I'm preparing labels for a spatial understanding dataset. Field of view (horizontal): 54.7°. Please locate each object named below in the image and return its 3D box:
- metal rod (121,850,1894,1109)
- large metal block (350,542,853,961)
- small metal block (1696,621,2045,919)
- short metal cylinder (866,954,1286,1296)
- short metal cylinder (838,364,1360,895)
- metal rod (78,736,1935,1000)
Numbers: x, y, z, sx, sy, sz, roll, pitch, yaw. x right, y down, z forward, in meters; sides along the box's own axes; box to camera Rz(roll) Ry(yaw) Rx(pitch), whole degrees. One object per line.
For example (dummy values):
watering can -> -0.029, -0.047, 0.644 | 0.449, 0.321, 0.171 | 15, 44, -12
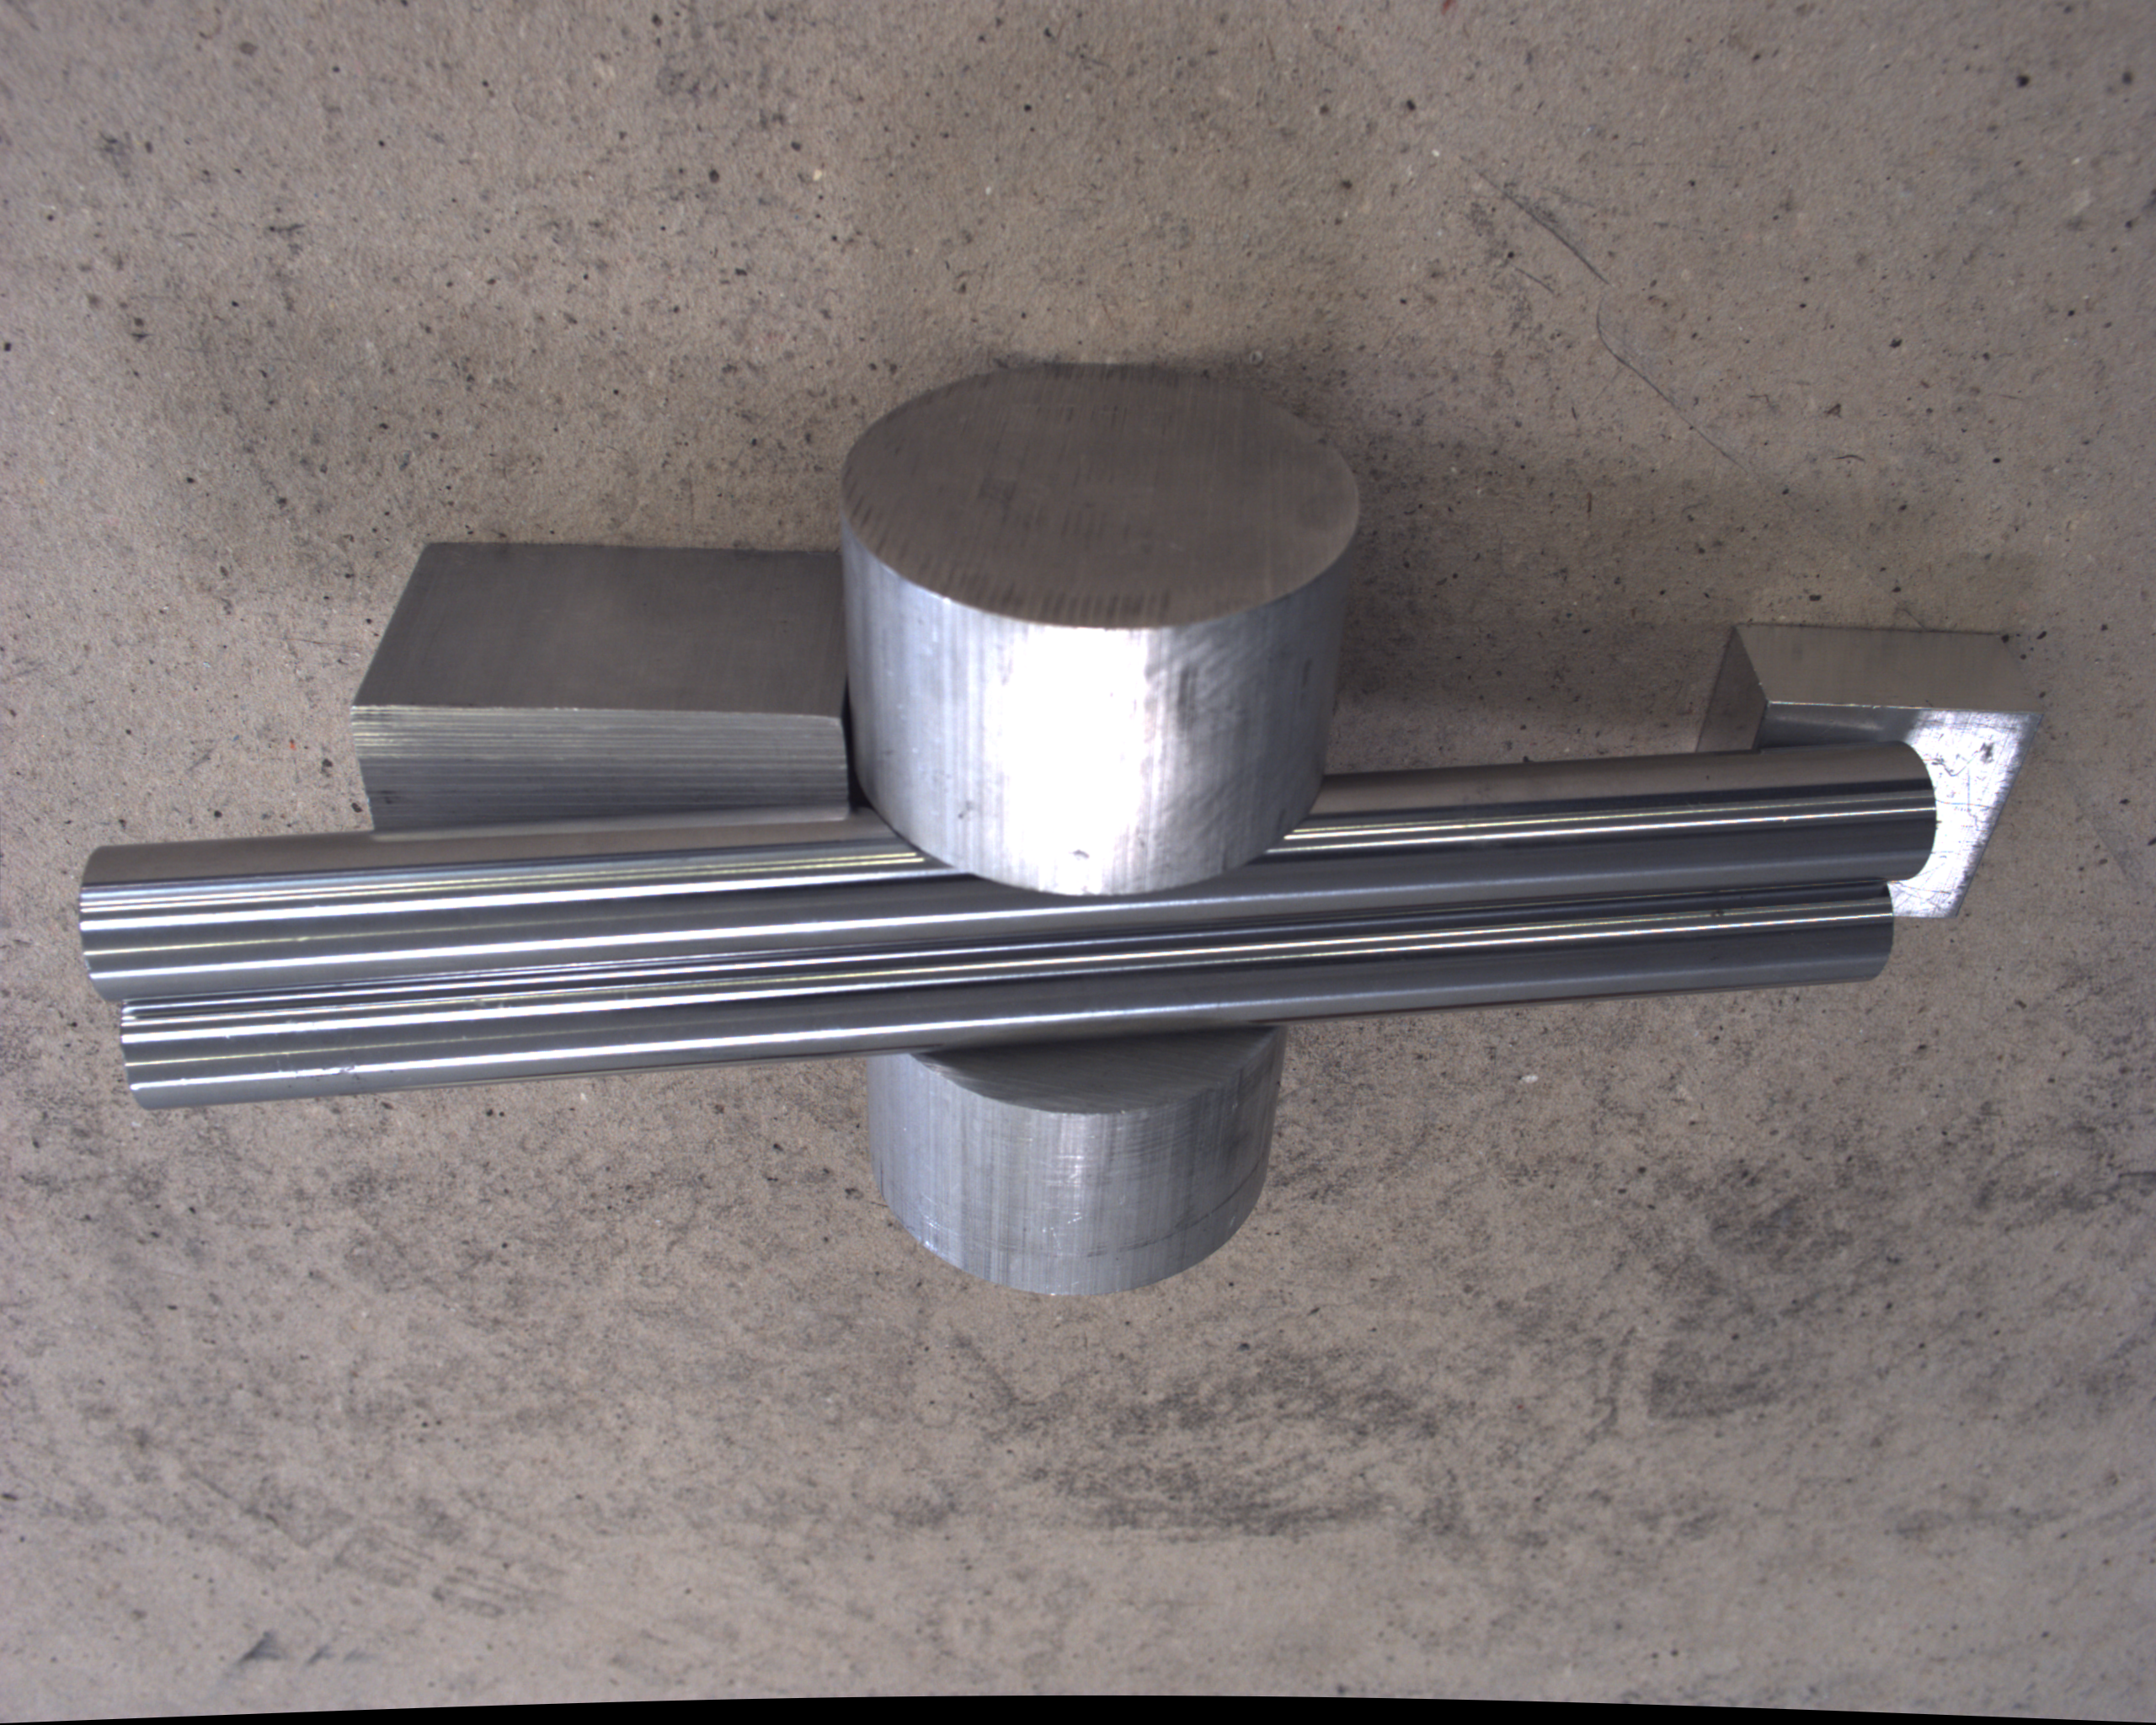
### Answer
metal rod -> -0.005, 0.019, 0.366 | 0.302, 0.025, 0.025 | -4, 131, -8
large metal block -> -0.079, -0.010, 0.383 | 0.081, 0.050, 0.079 | 1, 130, -2
small metal block -> 0.146, -0.017, 0.396 | 0.050, 0.025, 0.050 | 2, 130, -2
short metal cylinder -> -0.001, 0.036, 0.403 | 0.081, 0.080, 0.050 | 1, 130, -1
short metal cylinder -> 0.003, -0.040, 0.339 | 0.081, 0.080, 0.050 | 1, 130, -1
metal rod -> -0.004, 0.000, 0.350 | 0.302, 0.025, 0.025 | -4, 131, -8
